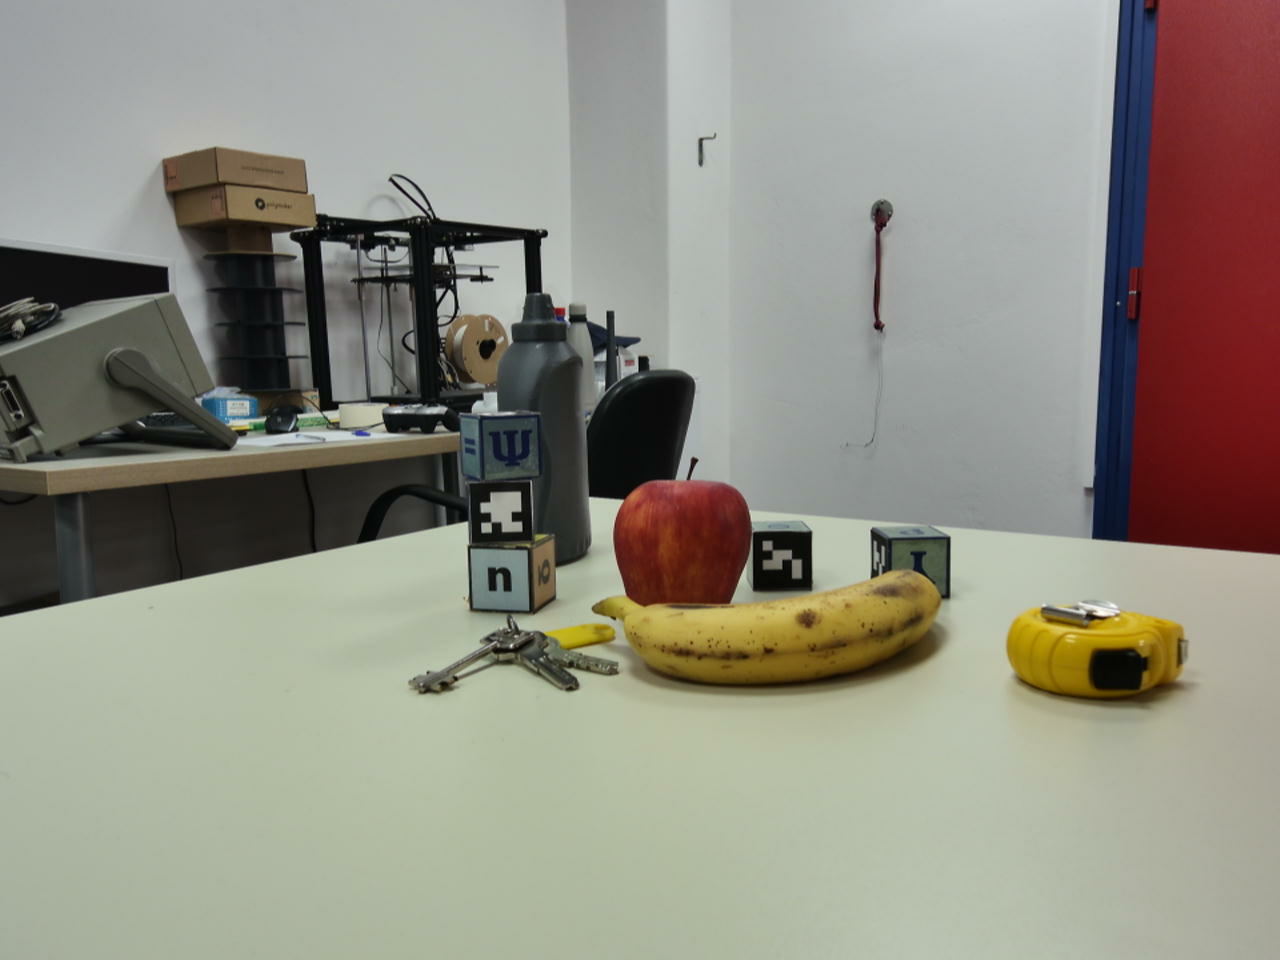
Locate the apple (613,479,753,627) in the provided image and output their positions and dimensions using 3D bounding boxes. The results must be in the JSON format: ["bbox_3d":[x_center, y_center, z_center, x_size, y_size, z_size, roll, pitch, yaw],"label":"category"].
[{"bbox_3d":[0.025,0.033,0.563,0.083,0.090,0.083,2,6,0],"label":"apple"}]
